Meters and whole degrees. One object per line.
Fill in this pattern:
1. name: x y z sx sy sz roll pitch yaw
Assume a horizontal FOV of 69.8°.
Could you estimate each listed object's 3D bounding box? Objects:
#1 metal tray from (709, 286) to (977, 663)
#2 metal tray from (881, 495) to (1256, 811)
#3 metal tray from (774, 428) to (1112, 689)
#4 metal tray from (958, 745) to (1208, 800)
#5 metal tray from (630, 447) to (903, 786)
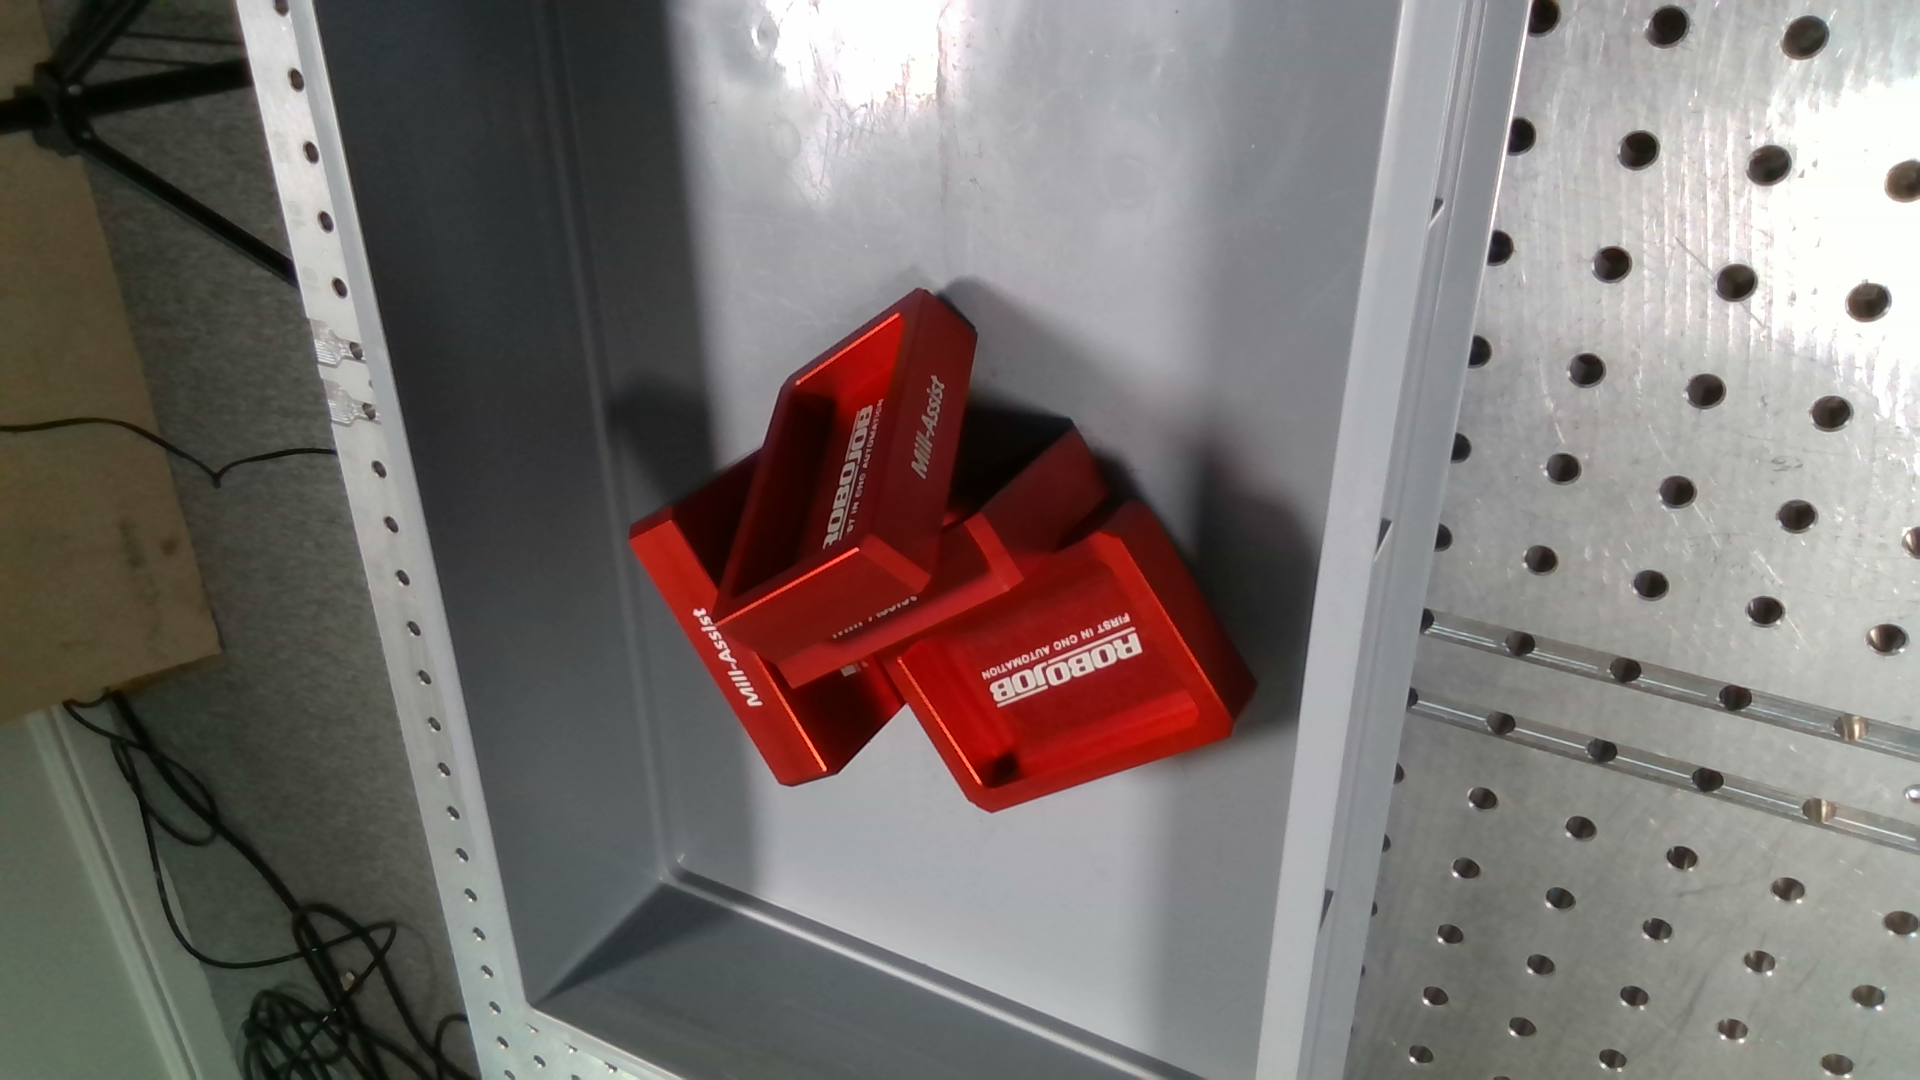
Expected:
1. metal tray: -0.043 -0.026 0.525 0.090 0.130 0.030 -27 130 38
2. metal tray: 0.037 0.048 0.540 0.130 0.030 0.090 -26 100 38
3. metal tray: -0.012 0.008 0.547 0.130 0.090 0.030 -26 99 38
4. metal tray: 0.038 0.056 0.584 0.130 0.030 0.090 -23 100 37
5. metal tray: -0.074 0.028 0.597 0.030 0.090 0.130 -21 103 38
